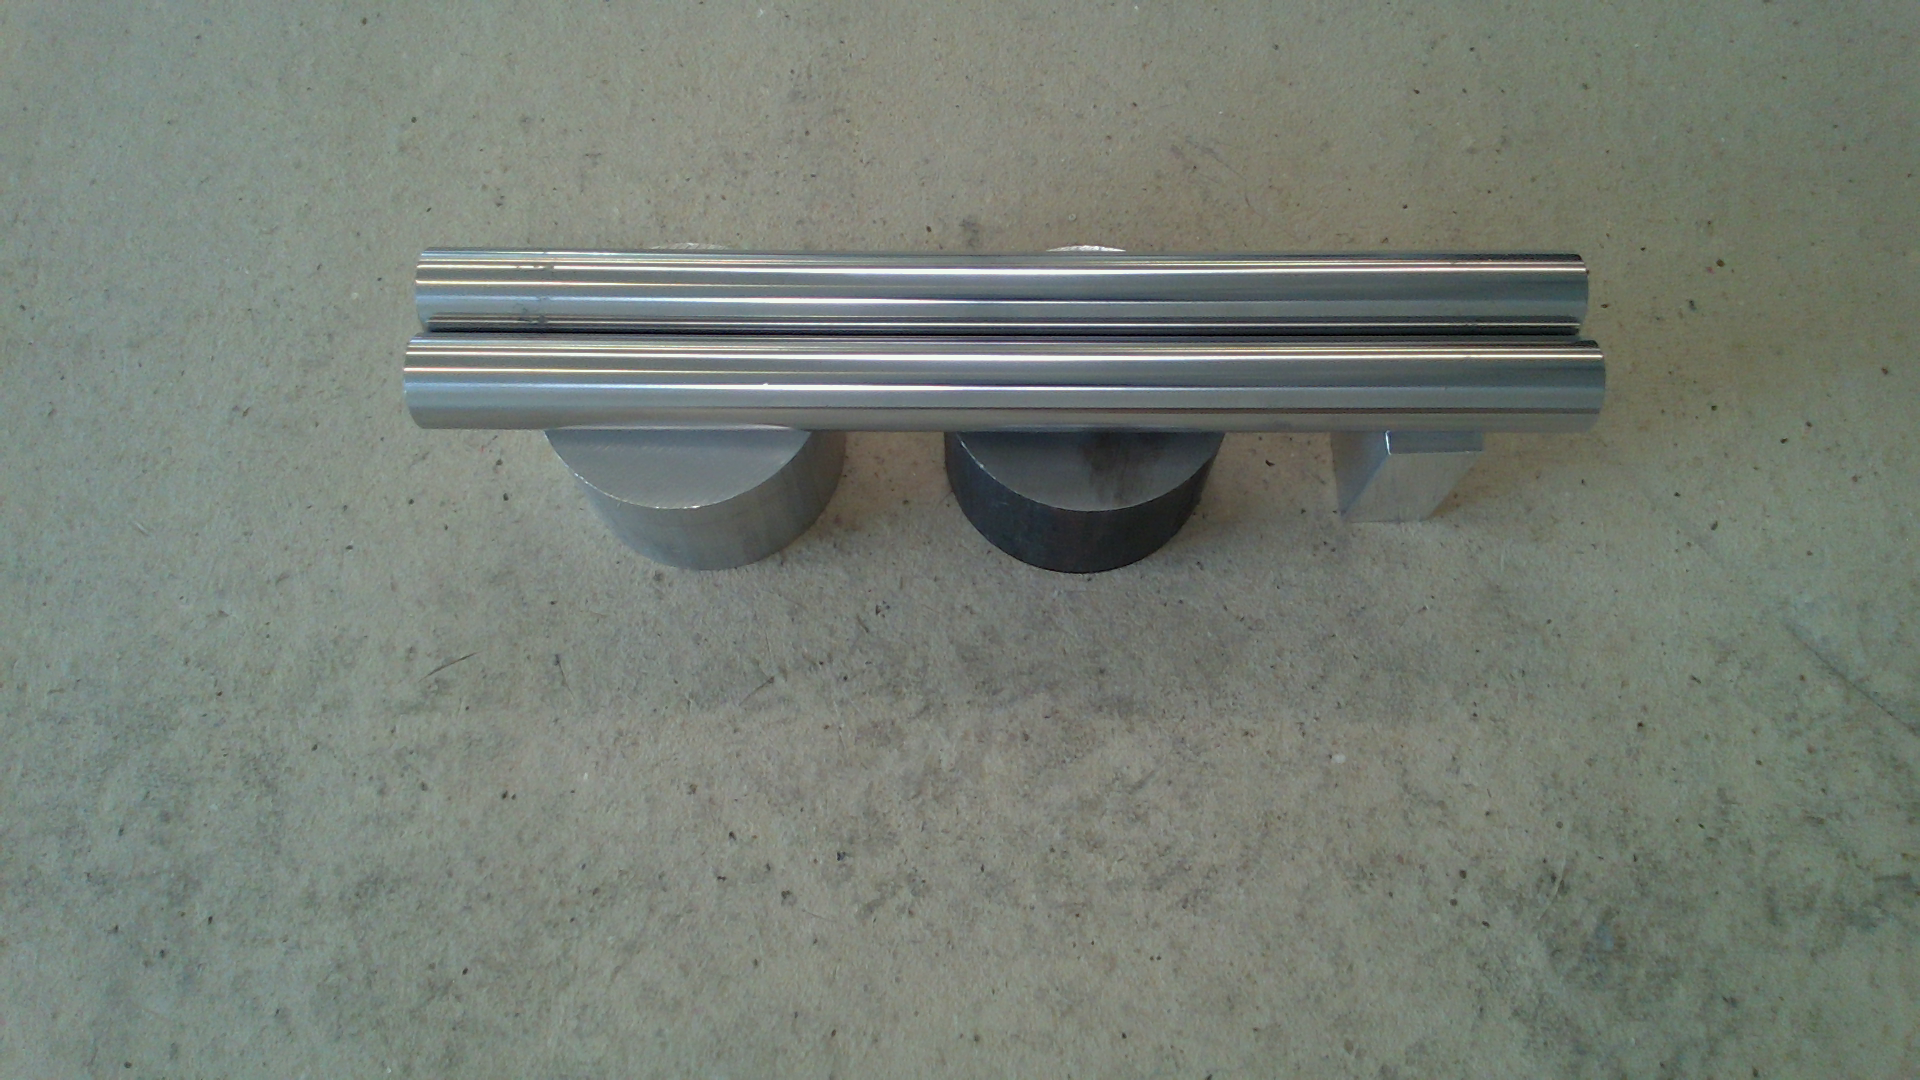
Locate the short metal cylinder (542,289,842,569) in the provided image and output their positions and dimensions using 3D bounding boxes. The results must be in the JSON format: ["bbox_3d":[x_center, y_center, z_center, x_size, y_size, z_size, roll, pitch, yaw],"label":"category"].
[{"bbox_3d":[-0.075,-0.038,0.394,0.080,0.050,0.080,0,70,0],"label":"short metal cylinder"}]

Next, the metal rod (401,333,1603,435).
[{"bbox_3d":[0.011,-0.040,0.356,0.300,0.025,0.025,0,70,0],"label":"metal rod"}]

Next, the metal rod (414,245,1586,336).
[{"bbox_3d":[0.010,-0.065,0.365,0.300,0.025,0.025,0,70,0],"label":"metal rod"}]

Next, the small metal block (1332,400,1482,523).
[{"bbox_3d":[0.125,-0.037,0.397,0.025,0.050,0.050,-1,69,-1],"label":"small metal block"}]

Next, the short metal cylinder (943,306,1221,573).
[{"bbox_3d":[0.035,-0.037,0.395,0.080,0.050,0.080,0,70,0],"label":"short metal cylinder"}]
